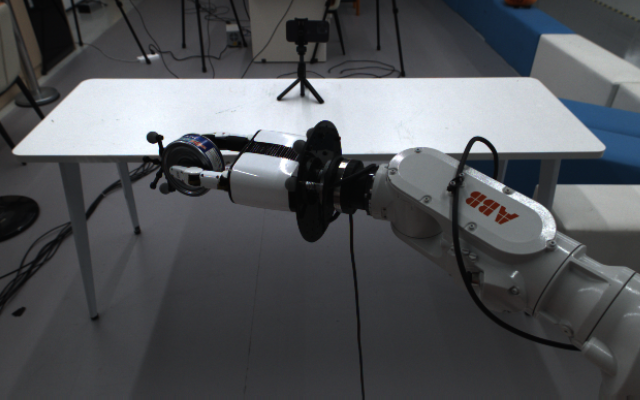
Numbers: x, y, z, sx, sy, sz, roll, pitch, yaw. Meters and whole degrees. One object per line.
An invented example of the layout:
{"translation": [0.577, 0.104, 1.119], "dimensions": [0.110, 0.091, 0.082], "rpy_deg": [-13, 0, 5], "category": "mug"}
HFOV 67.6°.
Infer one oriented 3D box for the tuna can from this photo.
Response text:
{"translation": [-0.178, -0.047, 0.683], "dimensions": [0.085, 0.085, 0.034], "rpy_deg": [12, 29, 14], "category": "tuna can"}
